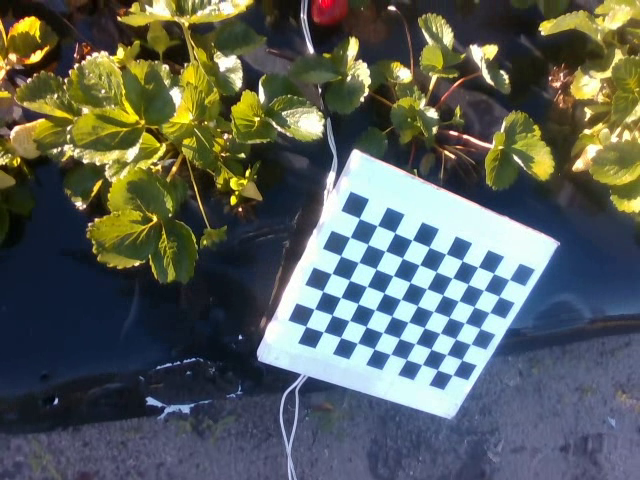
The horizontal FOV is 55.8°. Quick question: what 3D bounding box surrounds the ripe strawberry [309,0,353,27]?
[{"bbox_3d":[0.015,-0.310,0.799,0.040,0.062,0.080,-10,38,45],"label":"ripe strawberry"}]
